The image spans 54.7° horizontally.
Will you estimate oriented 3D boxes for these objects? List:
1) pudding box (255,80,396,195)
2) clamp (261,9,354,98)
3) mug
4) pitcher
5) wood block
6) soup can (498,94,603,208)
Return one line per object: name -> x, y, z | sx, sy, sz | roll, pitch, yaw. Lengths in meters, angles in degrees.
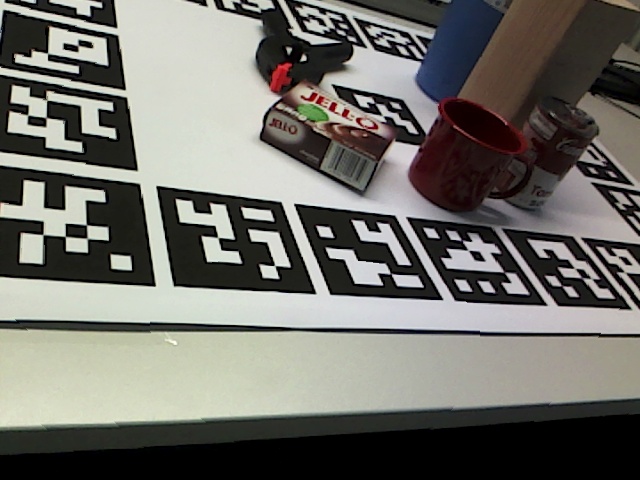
pudding box -> 0.007, -0.099, 0.587 | 0.114, 0.038, 0.090 | 27, 40, 3
clamp -> -0.024, -0.206, 0.707 | 0.121, 0.036, 0.165 | 28, 37, -9
mug -> 0.155, -0.075, 0.605 | 0.117, 0.081, 0.093 | 26, 34, 2
pitcher -> 0.234, -0.285, 0.772 | 0.188, 0.242, 0.134 | 1, 41, -26
wood block -> 0.243, -0.191, 0.689 | 0.089, 0.206, 0.091 | 4, 42, -32
soup can -> 0.236, -0.092, 0.653 | 0.067, 0.102, 0.068 | 16, 40, -14
